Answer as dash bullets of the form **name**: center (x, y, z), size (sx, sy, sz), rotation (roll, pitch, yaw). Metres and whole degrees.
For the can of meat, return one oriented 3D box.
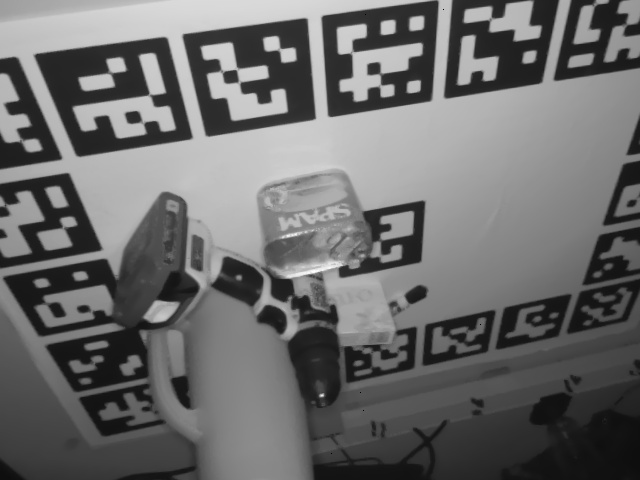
- **can of meat**: center (0.003, -0.013, 0.678), size (0.102, 0.084, 0.057), rotation (-11, 133, -4)

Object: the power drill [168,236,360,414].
- **power drill**: center (-0.050, 0.077, 0.678), size (0.189, 0.185, 0.056), rotation (21, 120, -22)

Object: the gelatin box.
- **gelatin box**: center (0.043, 0.097, 0.794), size (0.090, 0.073, 0.030), rotation (-1, 126, -11)

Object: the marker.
- **marker**: center (0.097, 0.113, 0.853), size (0.120, 0.020, 0.020), rotation (-31, 130, 11)

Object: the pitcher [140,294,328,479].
- **pitcher**: center (-0.084, 0.177, 0.723), size (0.191, 0.243, 0.131), rotation (12, 123, -31)
